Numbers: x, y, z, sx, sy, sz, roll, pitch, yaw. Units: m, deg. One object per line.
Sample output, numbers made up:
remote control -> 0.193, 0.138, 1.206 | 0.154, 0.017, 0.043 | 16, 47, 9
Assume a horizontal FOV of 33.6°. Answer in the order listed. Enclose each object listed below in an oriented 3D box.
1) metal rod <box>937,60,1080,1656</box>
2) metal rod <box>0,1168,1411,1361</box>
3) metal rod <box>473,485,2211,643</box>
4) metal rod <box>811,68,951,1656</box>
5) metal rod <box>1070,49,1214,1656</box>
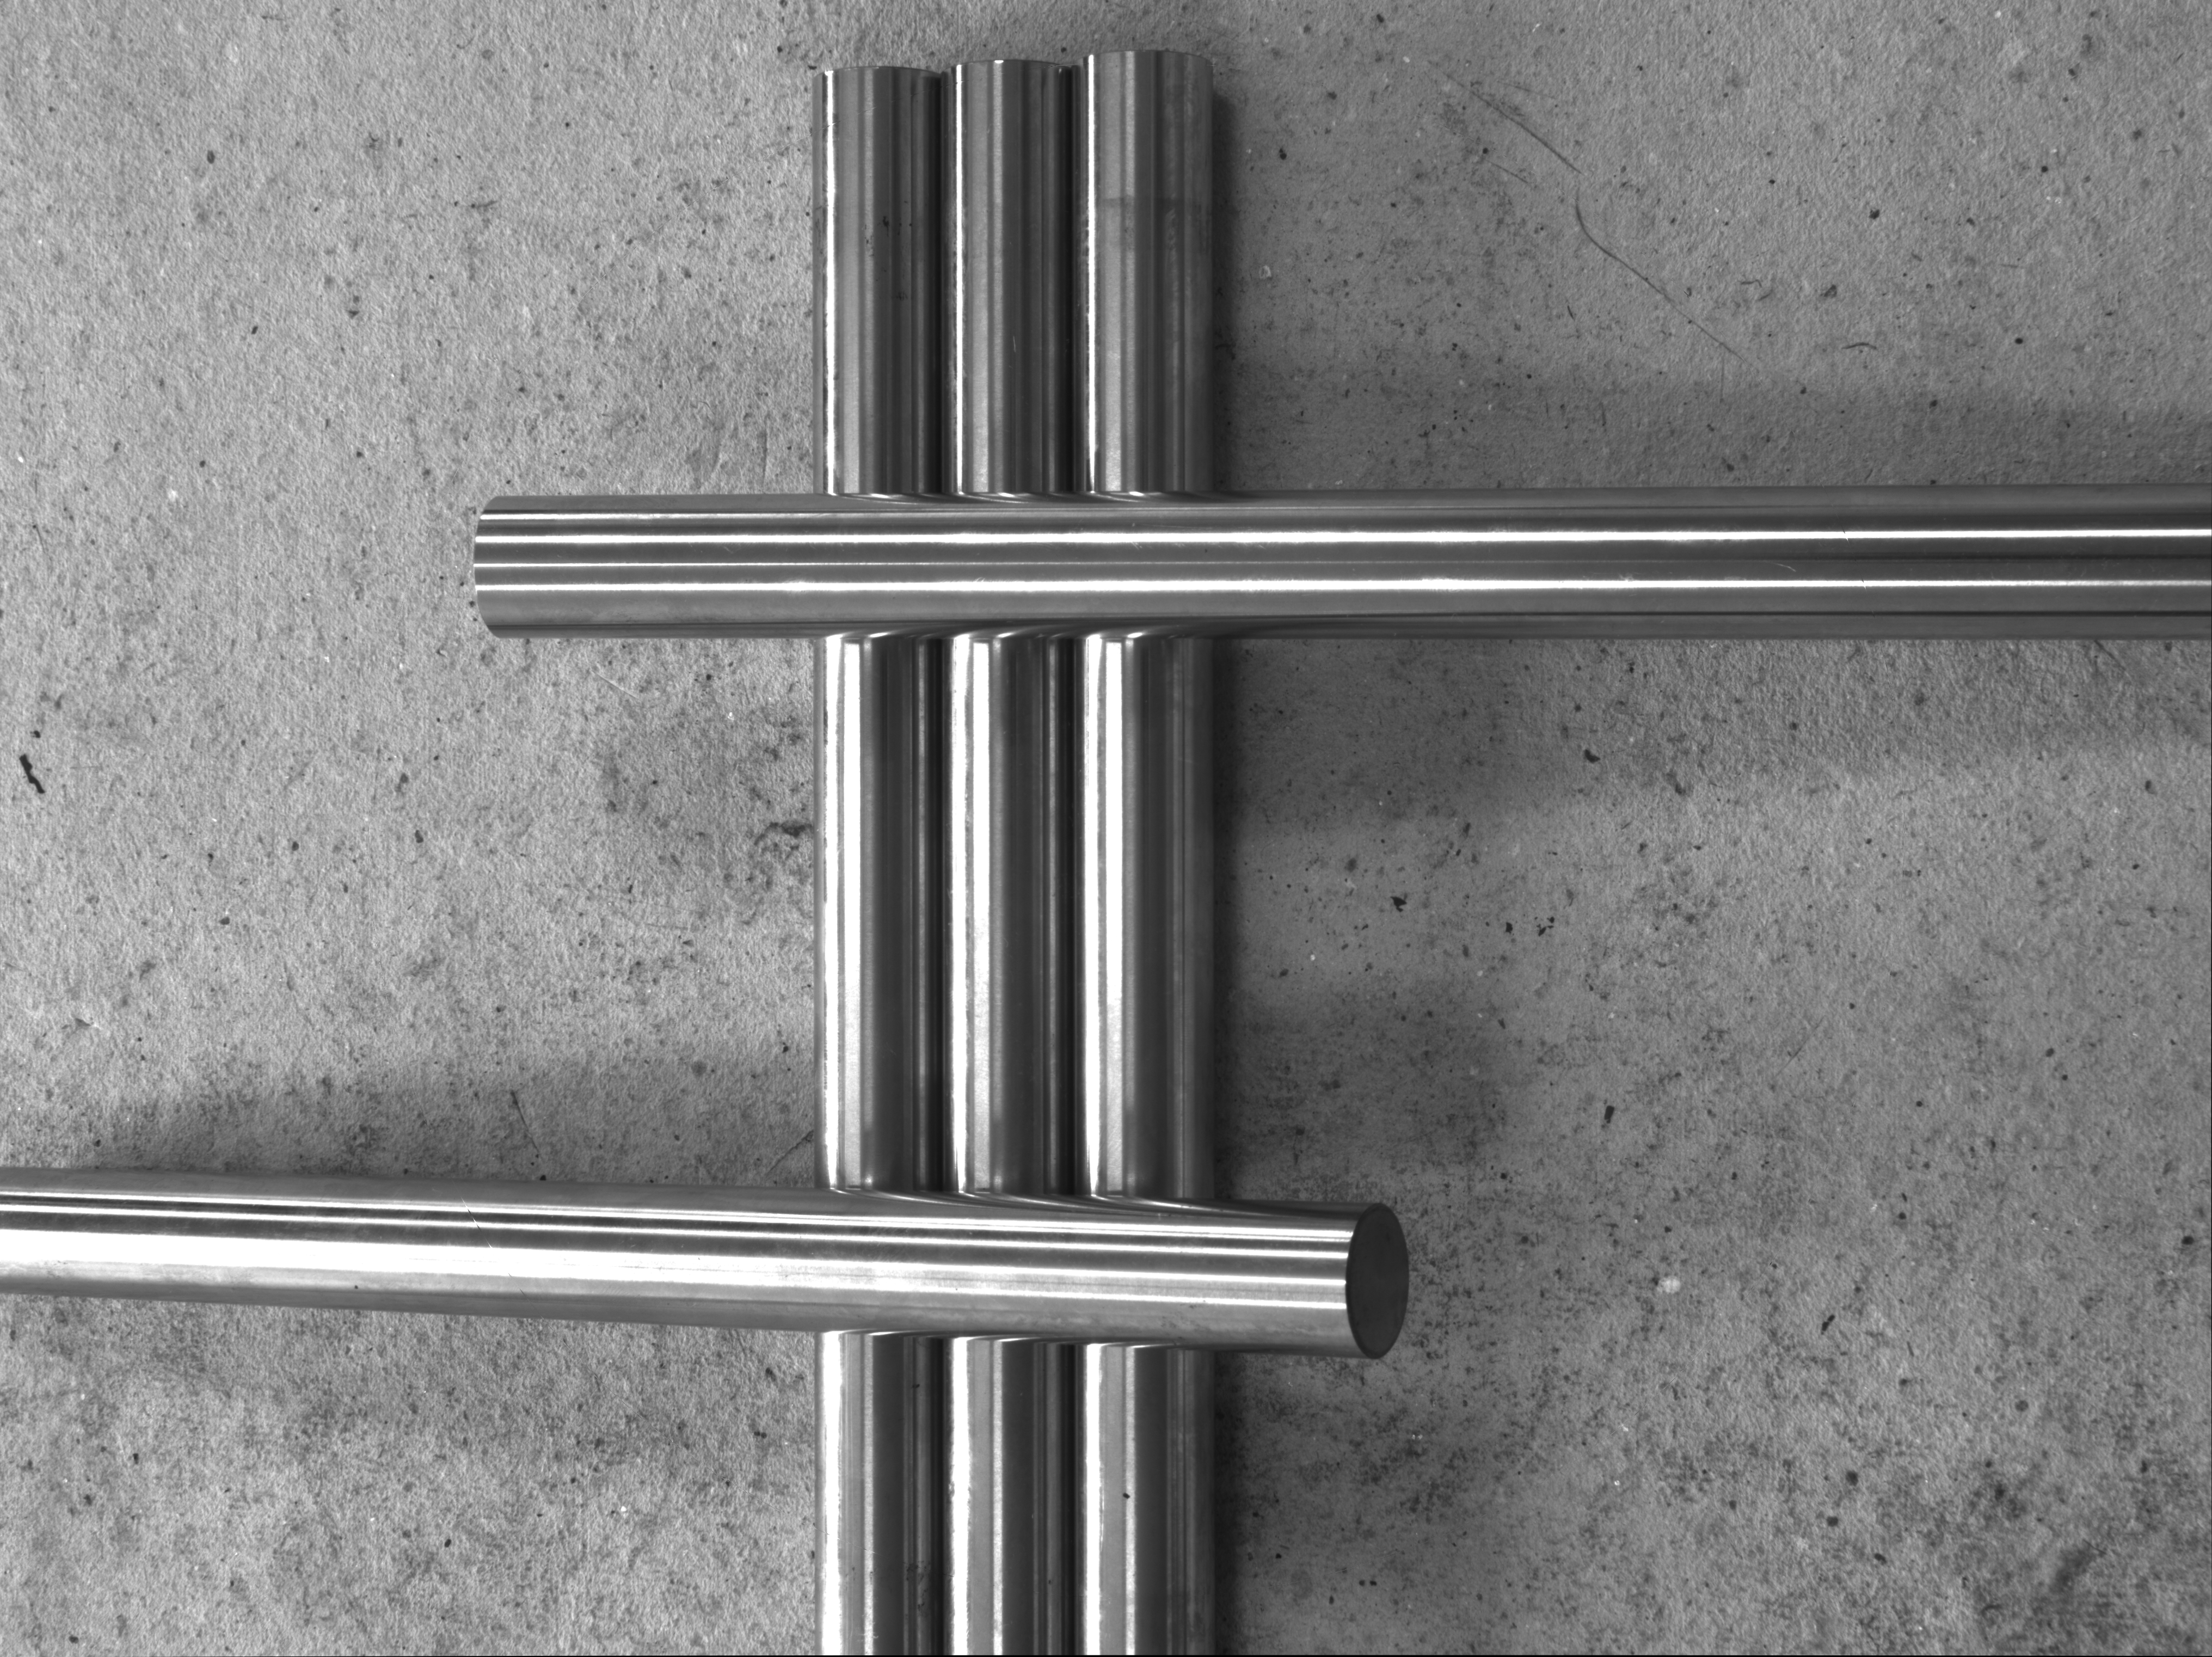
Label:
metal rod -> -0.017, 0.016, 0.652 | 0.025, 0.025, 0.300 | 0, 90, 20
metal rod -> -0.089, 0.076, 0.658 | 0.299, 0.025, 0.025 | -1, 89, 27
metal rod -> 0.040, -0.044, 0.611 | 0.299, 0.025, 0.025 | 1, 90, 12
metal rod -> -0.040, 0.016, 0.660 | 0.025, 0.025, 0.300 | 0, 90, 20
metal rod -> 0.006, 0.016, 0.643 | 0.025, 0.025, 0.300 | 0, 90, 20
